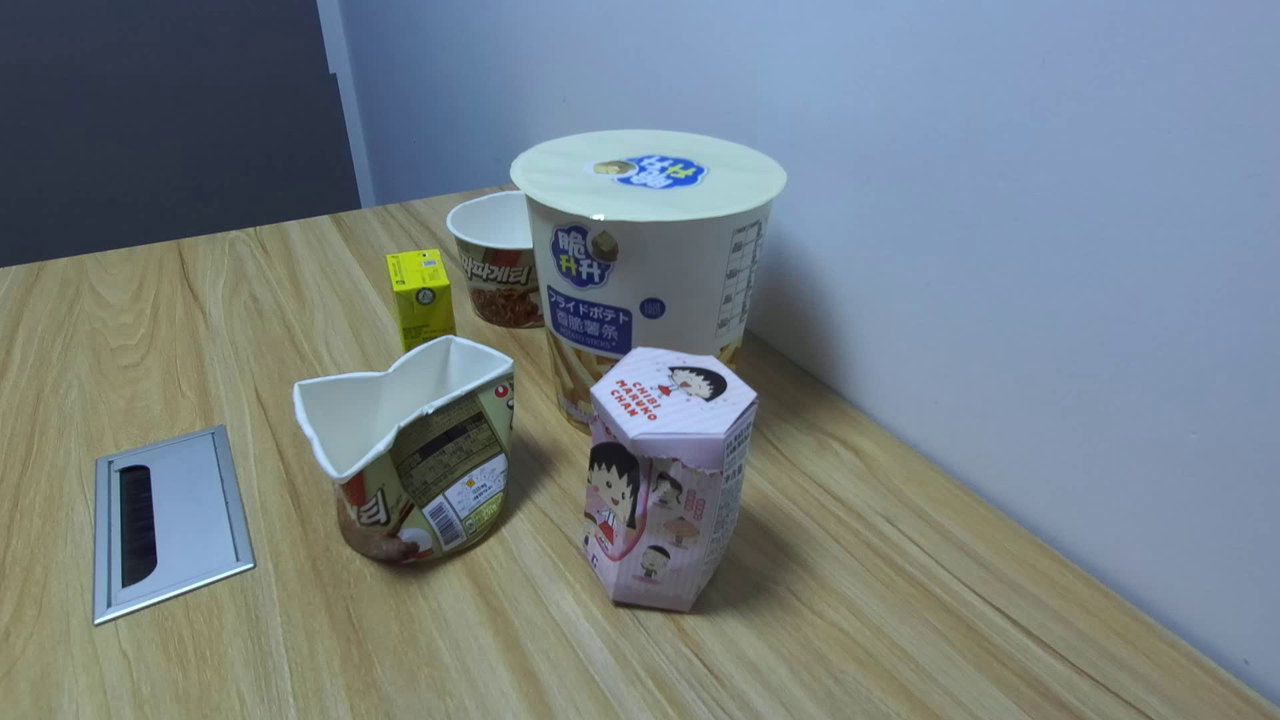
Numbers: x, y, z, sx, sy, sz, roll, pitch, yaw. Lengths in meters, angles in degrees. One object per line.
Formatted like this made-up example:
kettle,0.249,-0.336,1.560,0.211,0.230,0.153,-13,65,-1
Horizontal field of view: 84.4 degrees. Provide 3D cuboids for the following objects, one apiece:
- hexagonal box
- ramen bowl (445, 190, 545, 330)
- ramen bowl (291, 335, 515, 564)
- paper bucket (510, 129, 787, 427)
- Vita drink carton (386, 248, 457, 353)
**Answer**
hexagonal box,0.015,0.069,0.412,0.090,0.134,0.091,10,34,7
ramen bowl,-0.110,-0.097,0.691,0.140,0.095,0.140,1,34,0
ramen bowl,-0.139,0.056,0.457,0.129,0.093,0.111,-21,40,-30
paper bucket,0.004,-0.053,0.541,0.198,0.195,0.198,1,34,-1
Vita drink carton,-0.171,-0.026,0.570,0.044,0.109,0.066,-11,36,-18
